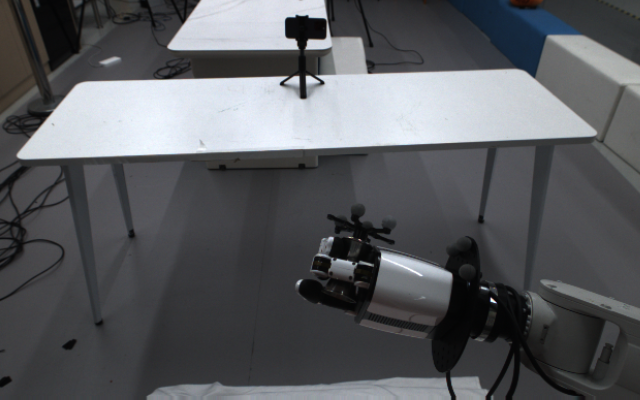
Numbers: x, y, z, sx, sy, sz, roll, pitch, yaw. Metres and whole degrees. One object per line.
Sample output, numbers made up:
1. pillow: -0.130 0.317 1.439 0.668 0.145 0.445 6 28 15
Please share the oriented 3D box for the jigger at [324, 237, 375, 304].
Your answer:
1. jigger: 0.034 0.080 0.569 0.043 0.043 0.071 15 70 18
